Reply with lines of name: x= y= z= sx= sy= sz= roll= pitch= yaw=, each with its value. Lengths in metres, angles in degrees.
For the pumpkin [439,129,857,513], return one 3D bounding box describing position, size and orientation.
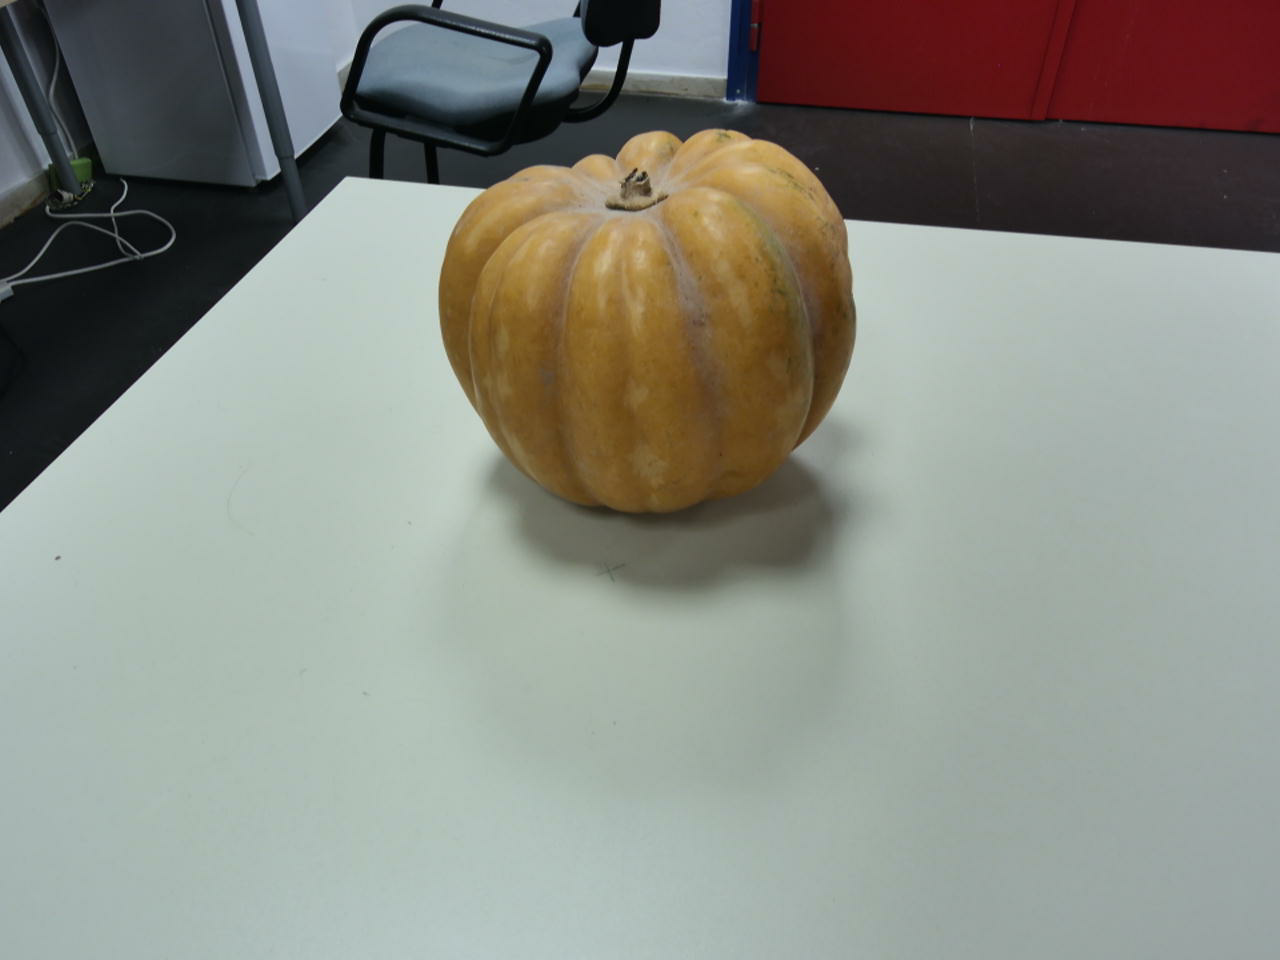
pumpkin: x=0.008 y=-0.087 z=0.558 sx=0.230 sy=0.194 sz=0.230 roll=0 pitch=39 yaw=0
